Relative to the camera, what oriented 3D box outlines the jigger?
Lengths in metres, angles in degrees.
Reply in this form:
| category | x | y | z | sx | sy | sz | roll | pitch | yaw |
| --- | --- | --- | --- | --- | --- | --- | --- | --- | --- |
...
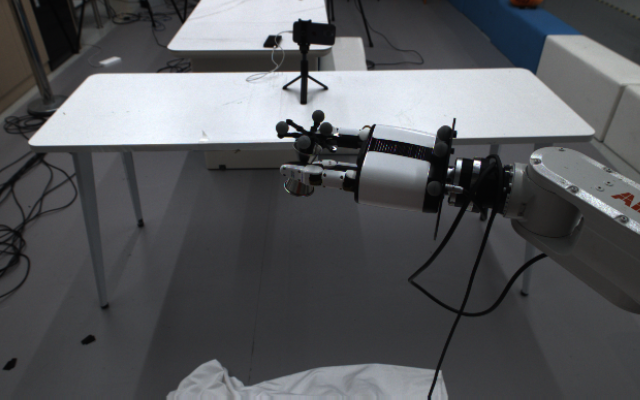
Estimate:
| category | x | y | z | sx | sy | sz | roll | pitch | yaw |
| --- | --- | --- | --- | --- | --- | --- | --- | --- | --- |
| jigger | -0.023 | -0.044 | 0.665 | 0.043 | 0.071 | 0.043 | 10 | 36 | -7 |
